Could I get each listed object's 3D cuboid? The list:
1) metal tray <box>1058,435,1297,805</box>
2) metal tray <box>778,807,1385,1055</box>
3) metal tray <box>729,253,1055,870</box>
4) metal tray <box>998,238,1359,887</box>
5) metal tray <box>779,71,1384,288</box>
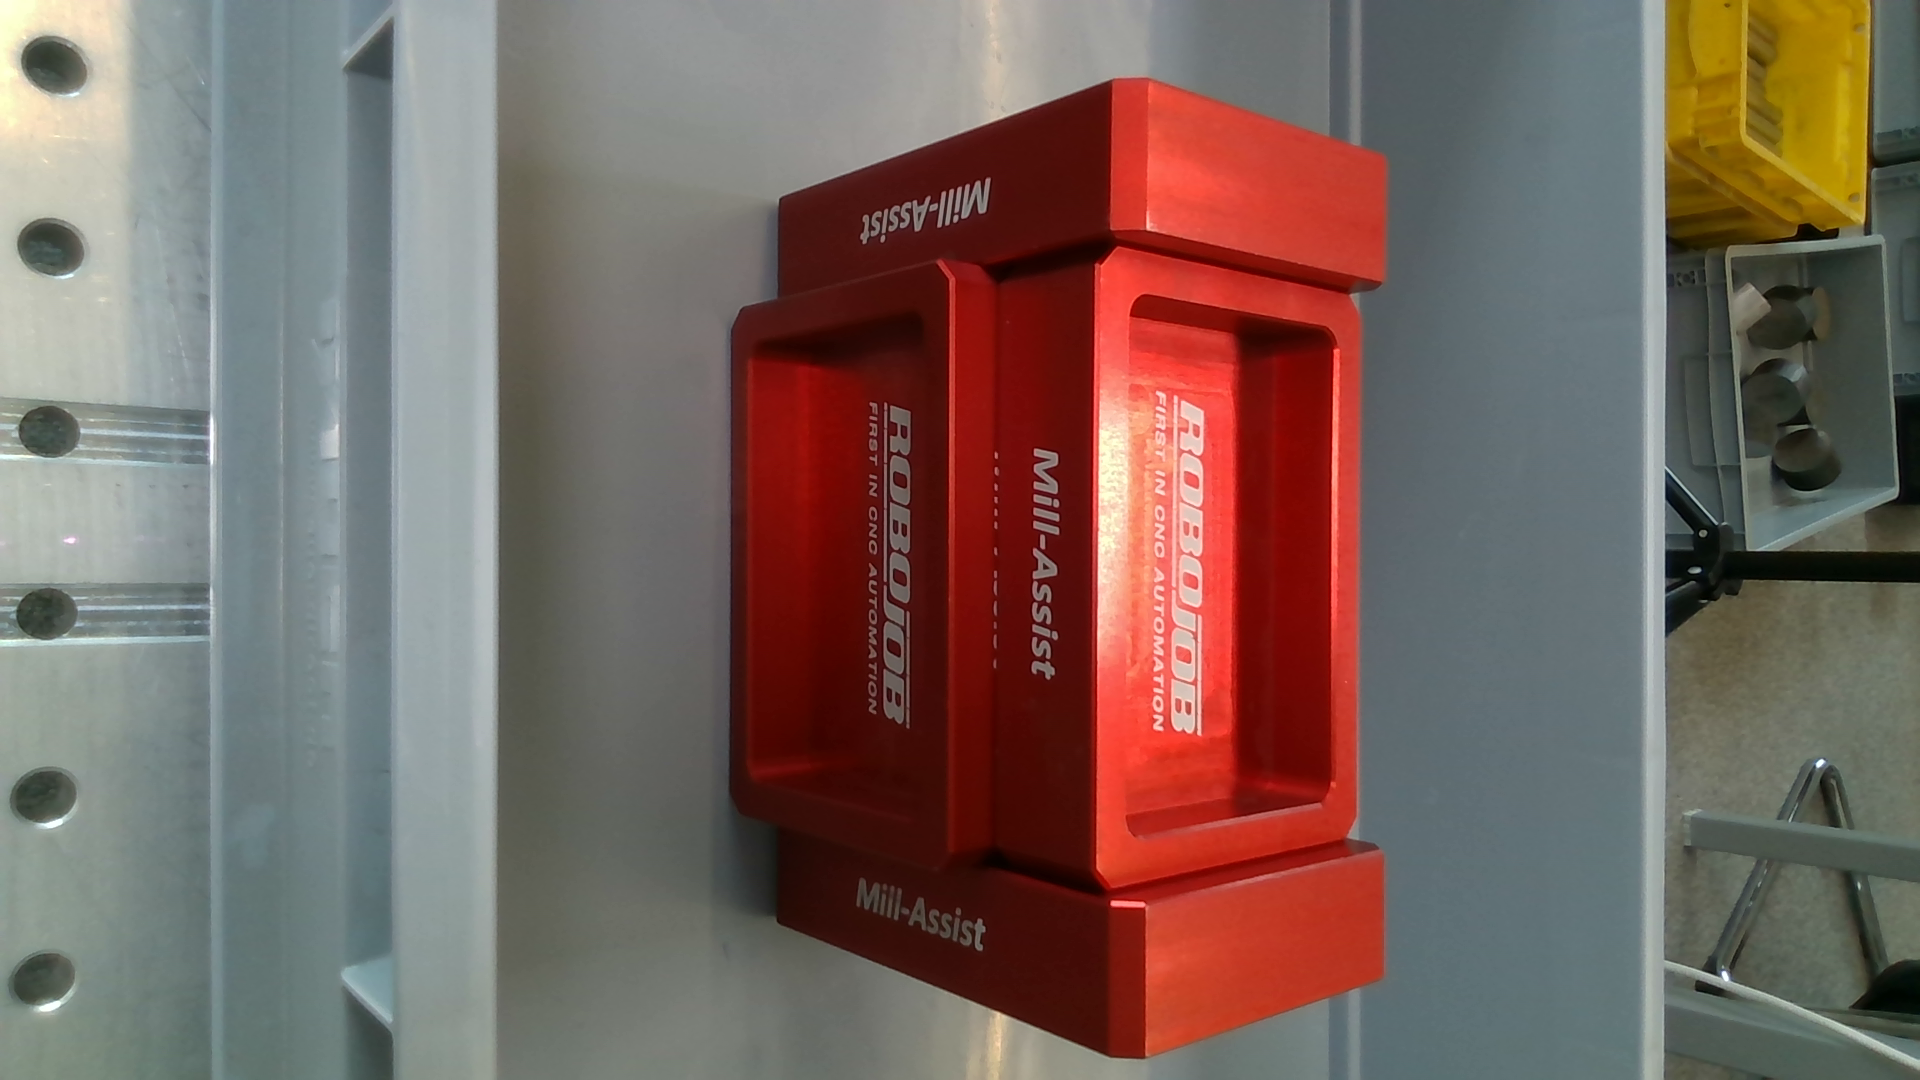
[{"bbox_3d":[0.050,0.006,0.387,0.030,0.090,0.130,0,90,-39],"label":"metal tray"},{"bbox_3d":[0.026,0.086,0.342,0.090,0.130,0.030,1,89,-40],"label":"metal tray"},{"bbox_3d":[-0.019,0.005,0.329,0.030,0.090,0.130,0,90,-41],"label":"metal tray"},{"bbox_3d":[0.052,0.005,0.312,0.090,0.030,0.130,1,90,-41],"label":"metal tray"},{"bbox_3d":[0.026,-0.076,0.342,0.090,0.130,0.030,1,89,-40],"label":"metal tray"}]
